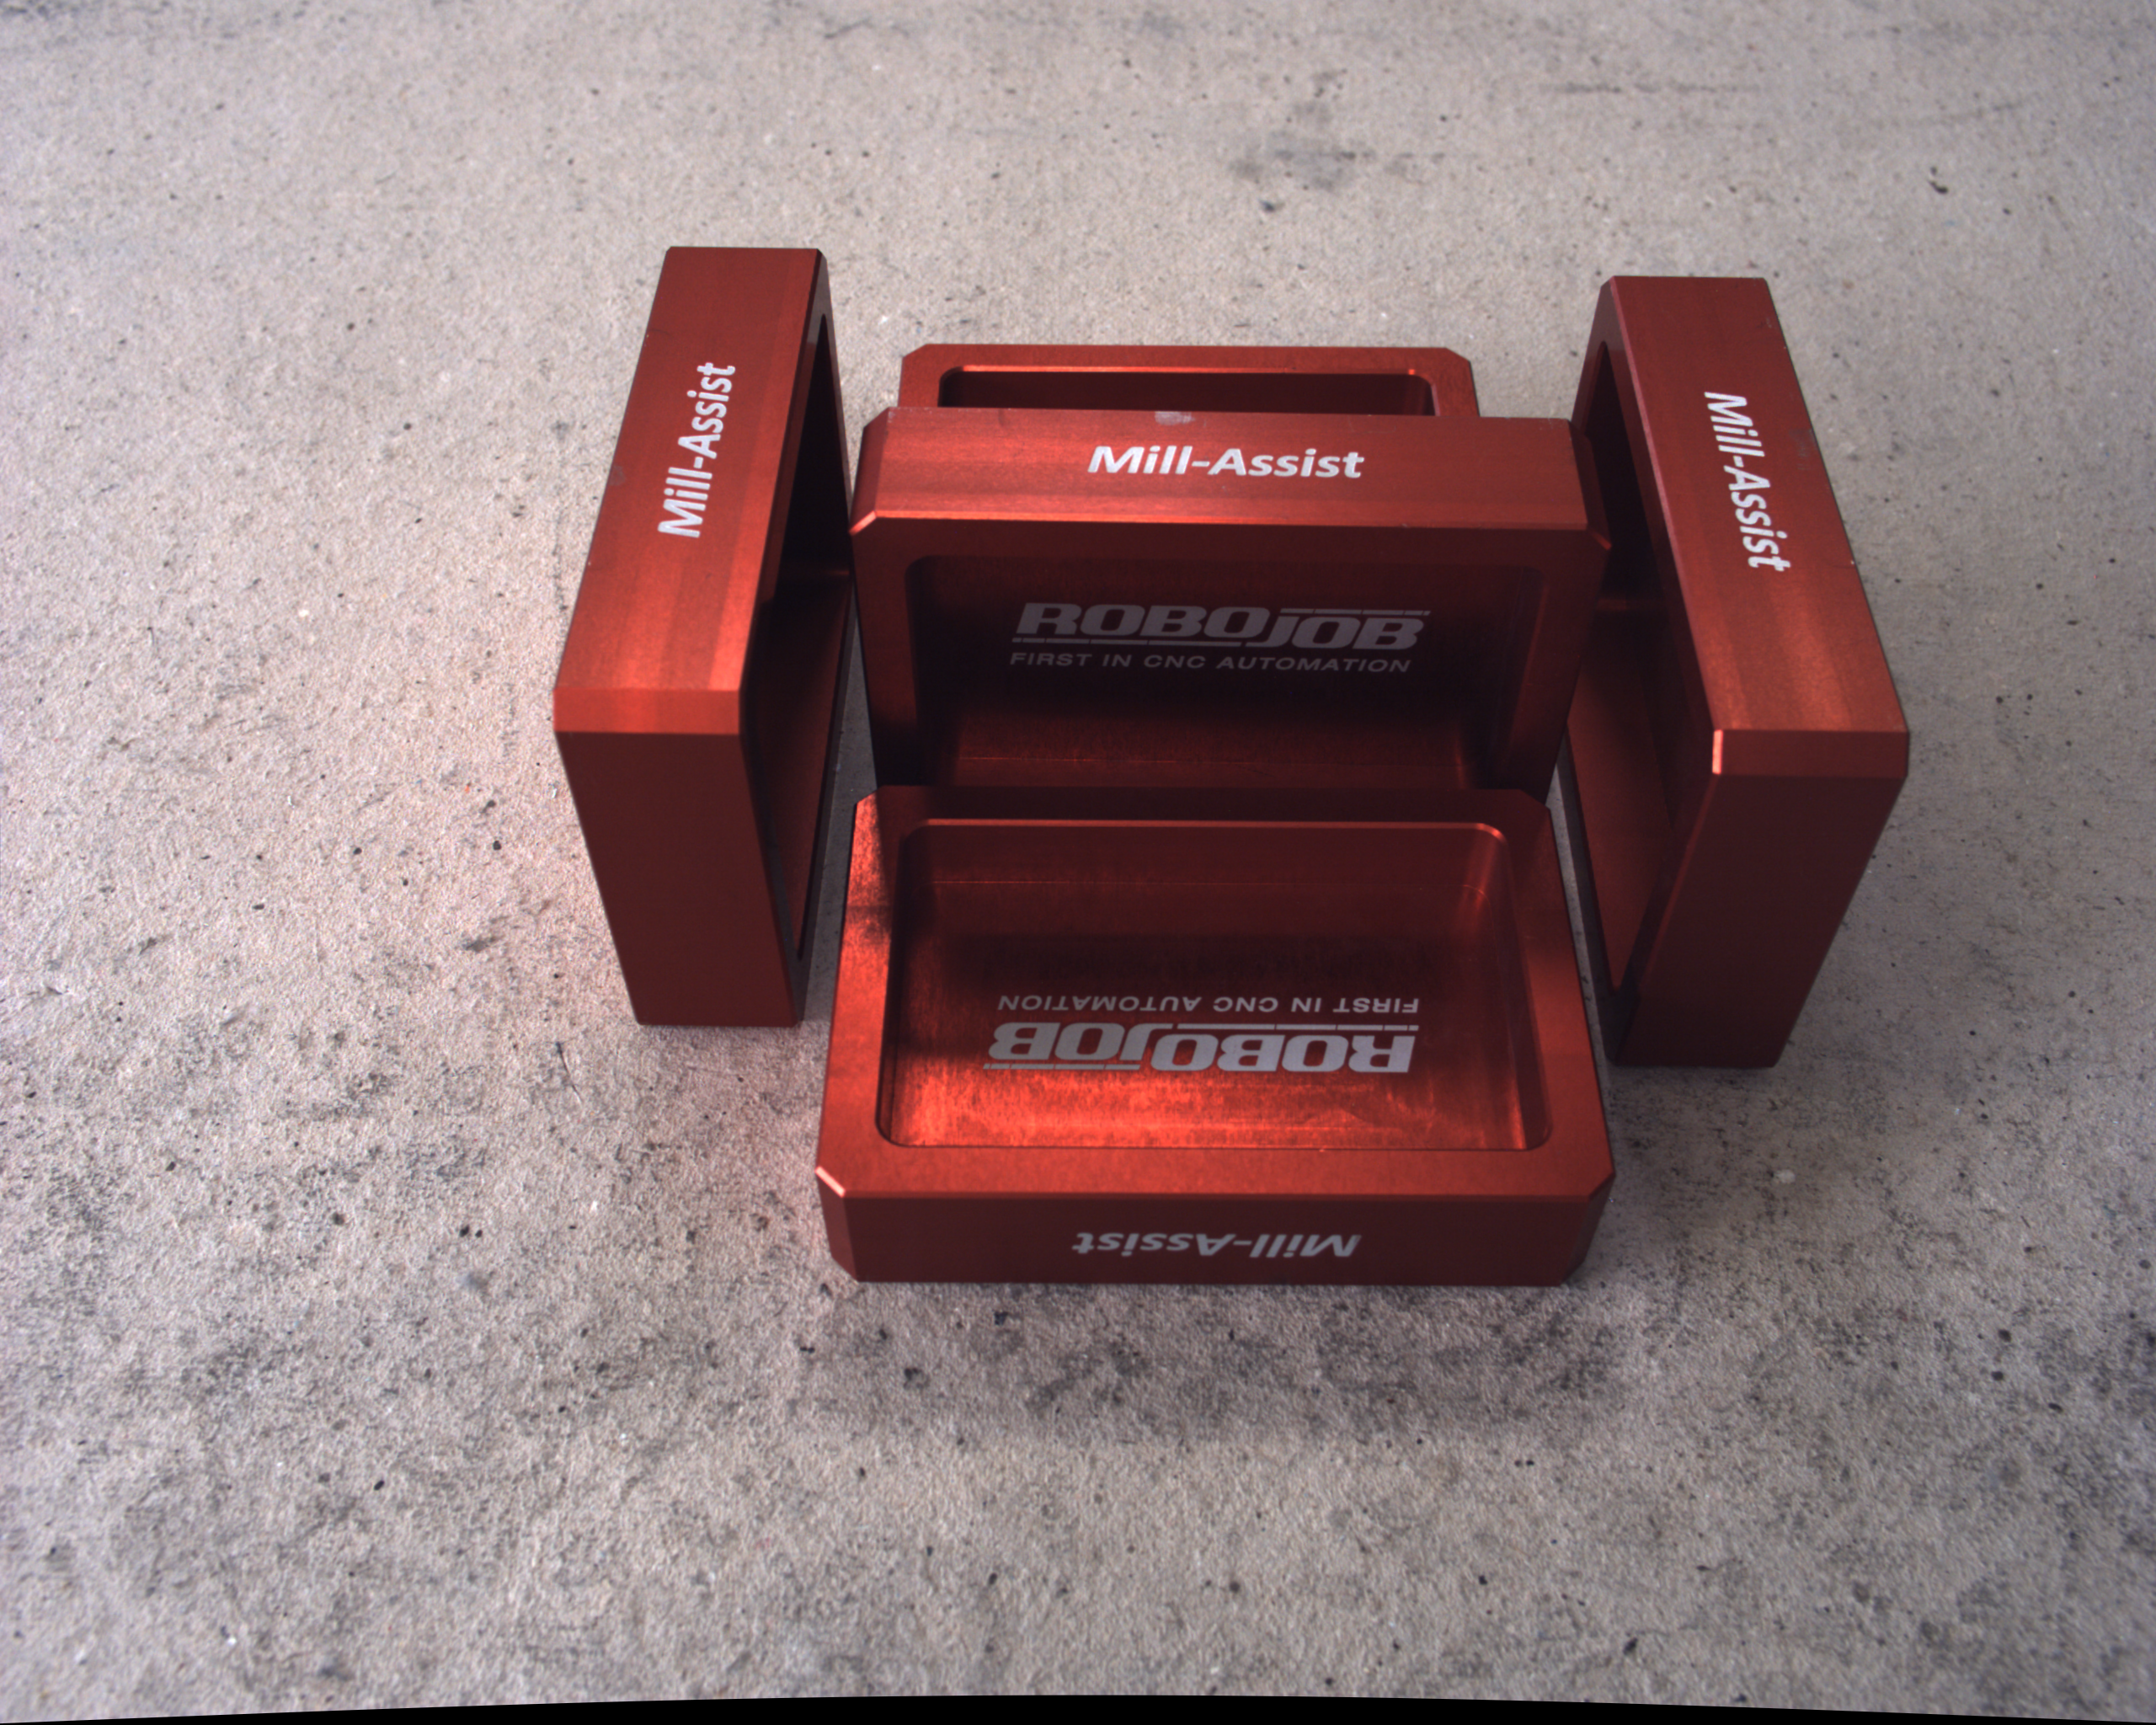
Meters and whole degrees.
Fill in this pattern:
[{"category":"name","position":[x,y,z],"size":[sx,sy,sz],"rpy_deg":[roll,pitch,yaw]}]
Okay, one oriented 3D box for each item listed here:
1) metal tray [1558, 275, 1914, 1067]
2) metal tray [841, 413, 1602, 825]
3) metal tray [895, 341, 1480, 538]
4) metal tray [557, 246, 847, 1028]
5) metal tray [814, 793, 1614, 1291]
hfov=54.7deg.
[{"category":"metal tray","position":[0.116,-0.038,0.395],"size":[0.030,0.090,0.130],"rpy_deg":[1,50,1]},{"category":"metal tray","position":[0.025,-0.041,0.398],"size":[0.131,0.090,0.030],"rpy_deg":[1,52,1]},{"category":"metal tray","position":[0.024,-0.076,0.465],"size":[0.131,0.030,0.090],"rpy_deg":[0,53,0]},{"category":"metal tray","position":[-0.066,-0.044,0.399],"size":[0.030,0.090,0.130],"rpy_deg":[1,51,1]},{"category":"metal tray","position":[0.023,0.030,0.378],"size":[0.131,0.030,0.090],"rpy_deg":[1,49,0]}]
